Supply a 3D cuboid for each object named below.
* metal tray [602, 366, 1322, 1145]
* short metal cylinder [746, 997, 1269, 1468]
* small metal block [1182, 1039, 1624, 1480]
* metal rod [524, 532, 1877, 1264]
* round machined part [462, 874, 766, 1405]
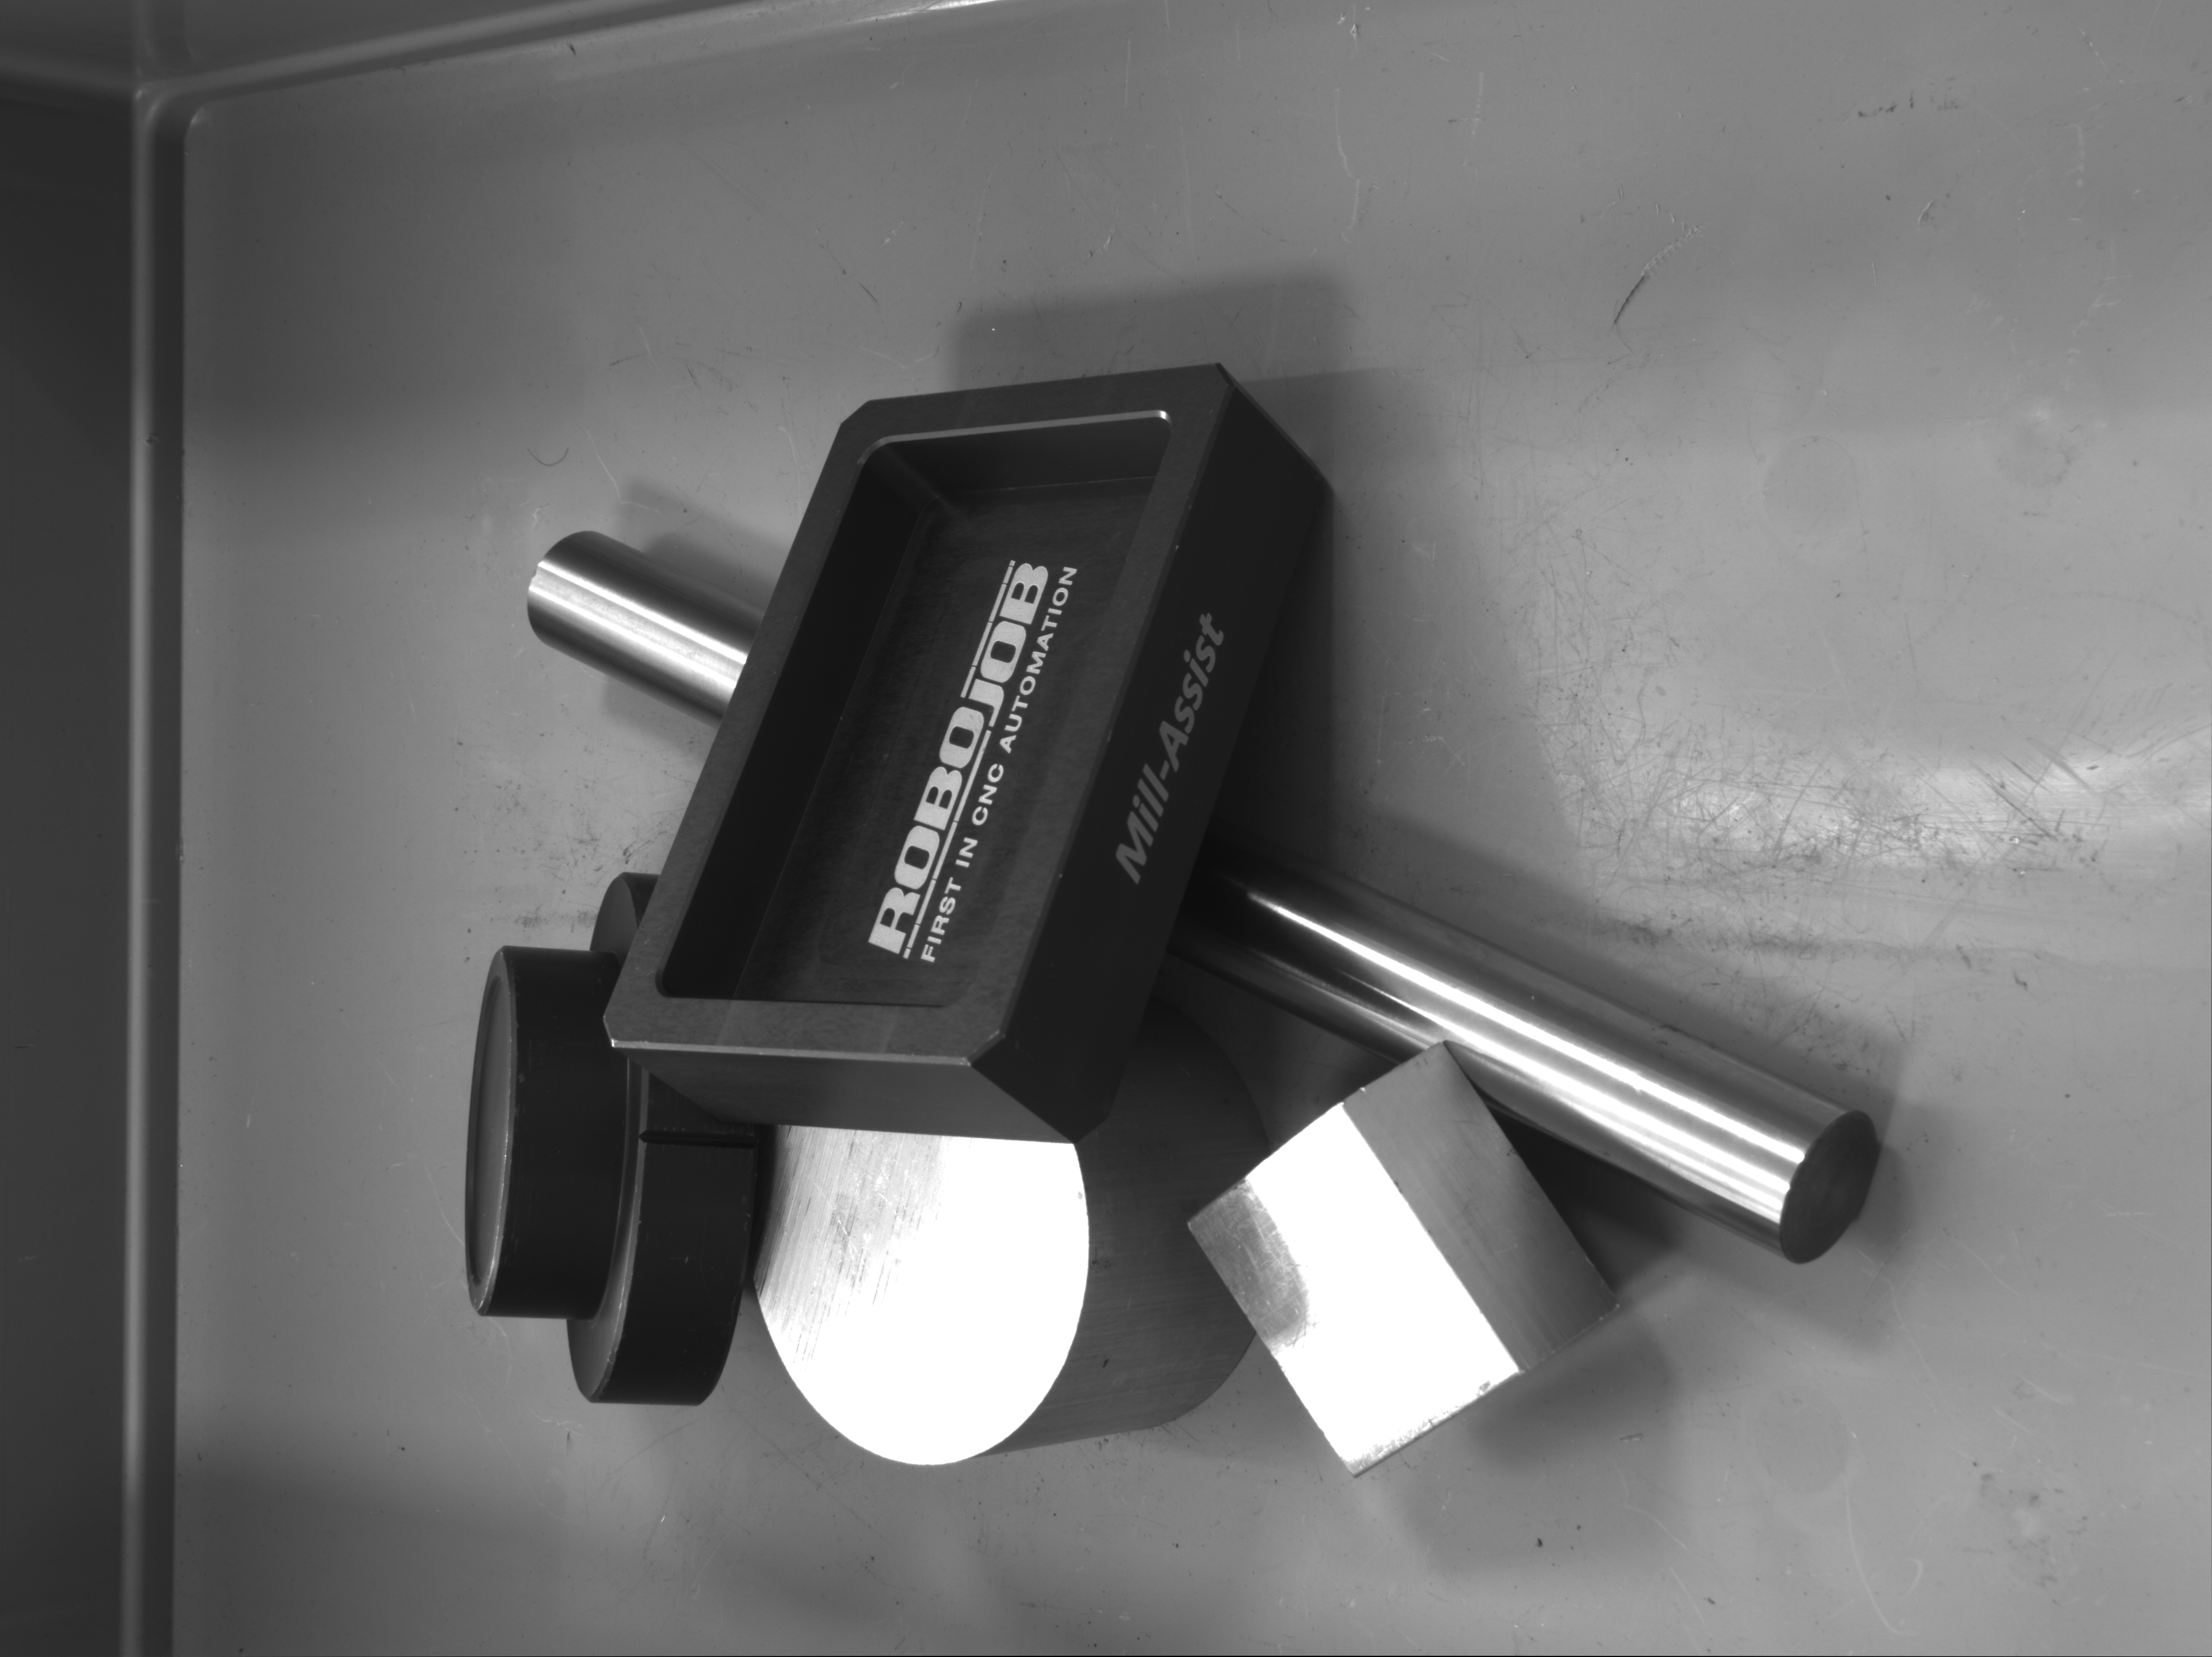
[{"bbox_3d":[-0.024,-0.013,0.622,0.090,0.030,0.130,0,61,40],"label":"metal tray"},{"bbox_3d":[-0.017,0.068,0.641,0.080,0.050,0.080,0,90,40],"label":"short metal cylinder"},{"bbox_3d":[0.047,0.070,0.590,0.050,0.025,0.050,55,140,8],"label":"small metal block"},{"bbox_3d":[0.001,0.003,0.643,0.299,0.025,0.025,25,106,37],"label":"metal rod"},{"bbox_3d":[-0.094,0.057,0.681,0.098,0.042,0.098,-175,90,-73],"label":"round machined part"}]
